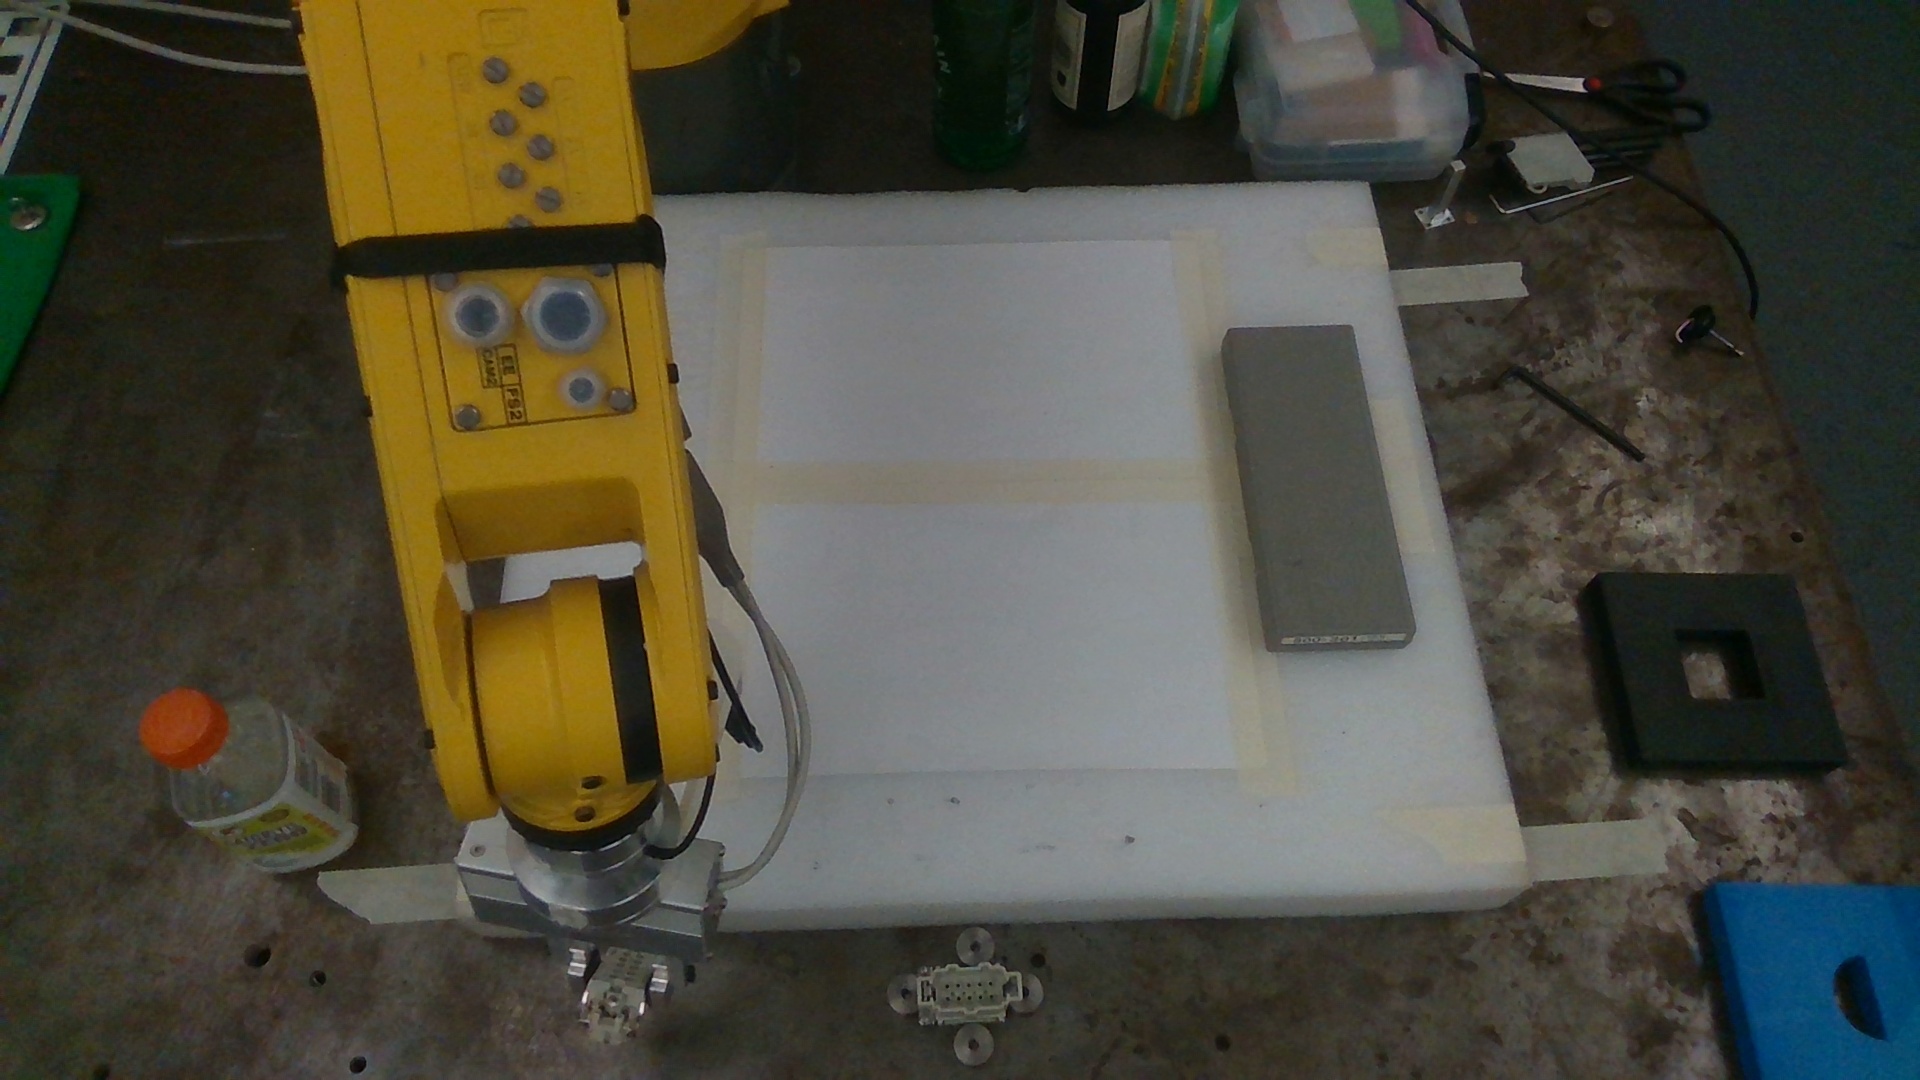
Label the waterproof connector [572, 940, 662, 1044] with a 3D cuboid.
[{"bbox_3d":[-0.192,0.254,0.781,0.037,0.069,0.038,11,96,-2],"label":"waterproof connector"}]
